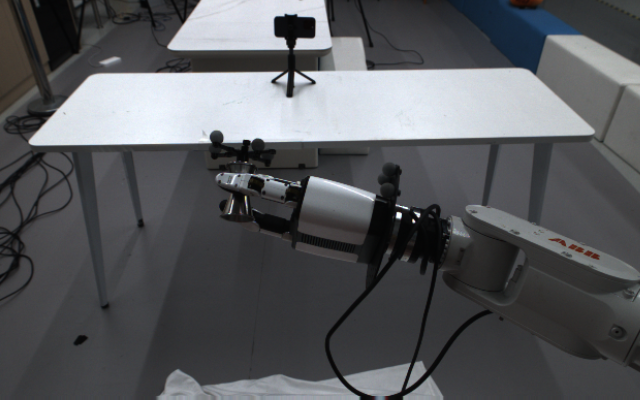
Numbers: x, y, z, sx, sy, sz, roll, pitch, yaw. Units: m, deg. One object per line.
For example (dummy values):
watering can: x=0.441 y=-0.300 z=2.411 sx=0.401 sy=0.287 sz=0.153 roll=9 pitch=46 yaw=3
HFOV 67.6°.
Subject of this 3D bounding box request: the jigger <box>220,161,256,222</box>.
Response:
jigger: x=-0.101 y=-0.010 z=0.603 sx=0.043 sy=0.043 sz=0.071 roll=2 pitch=76 yaw=1
